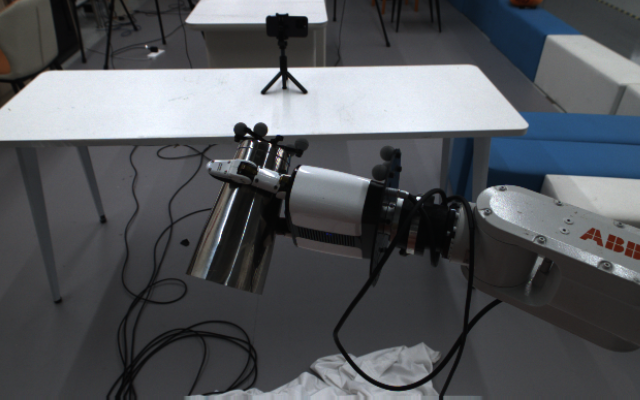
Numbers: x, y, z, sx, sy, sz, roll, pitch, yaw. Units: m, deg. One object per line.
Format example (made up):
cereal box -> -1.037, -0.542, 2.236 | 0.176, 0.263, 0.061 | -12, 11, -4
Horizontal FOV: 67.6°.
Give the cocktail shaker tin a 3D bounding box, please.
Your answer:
cocktail shaker tin -> -0.086, 0.016, 0.578 | 0.093, 0.093, 0.170 | 13, 77, 15
